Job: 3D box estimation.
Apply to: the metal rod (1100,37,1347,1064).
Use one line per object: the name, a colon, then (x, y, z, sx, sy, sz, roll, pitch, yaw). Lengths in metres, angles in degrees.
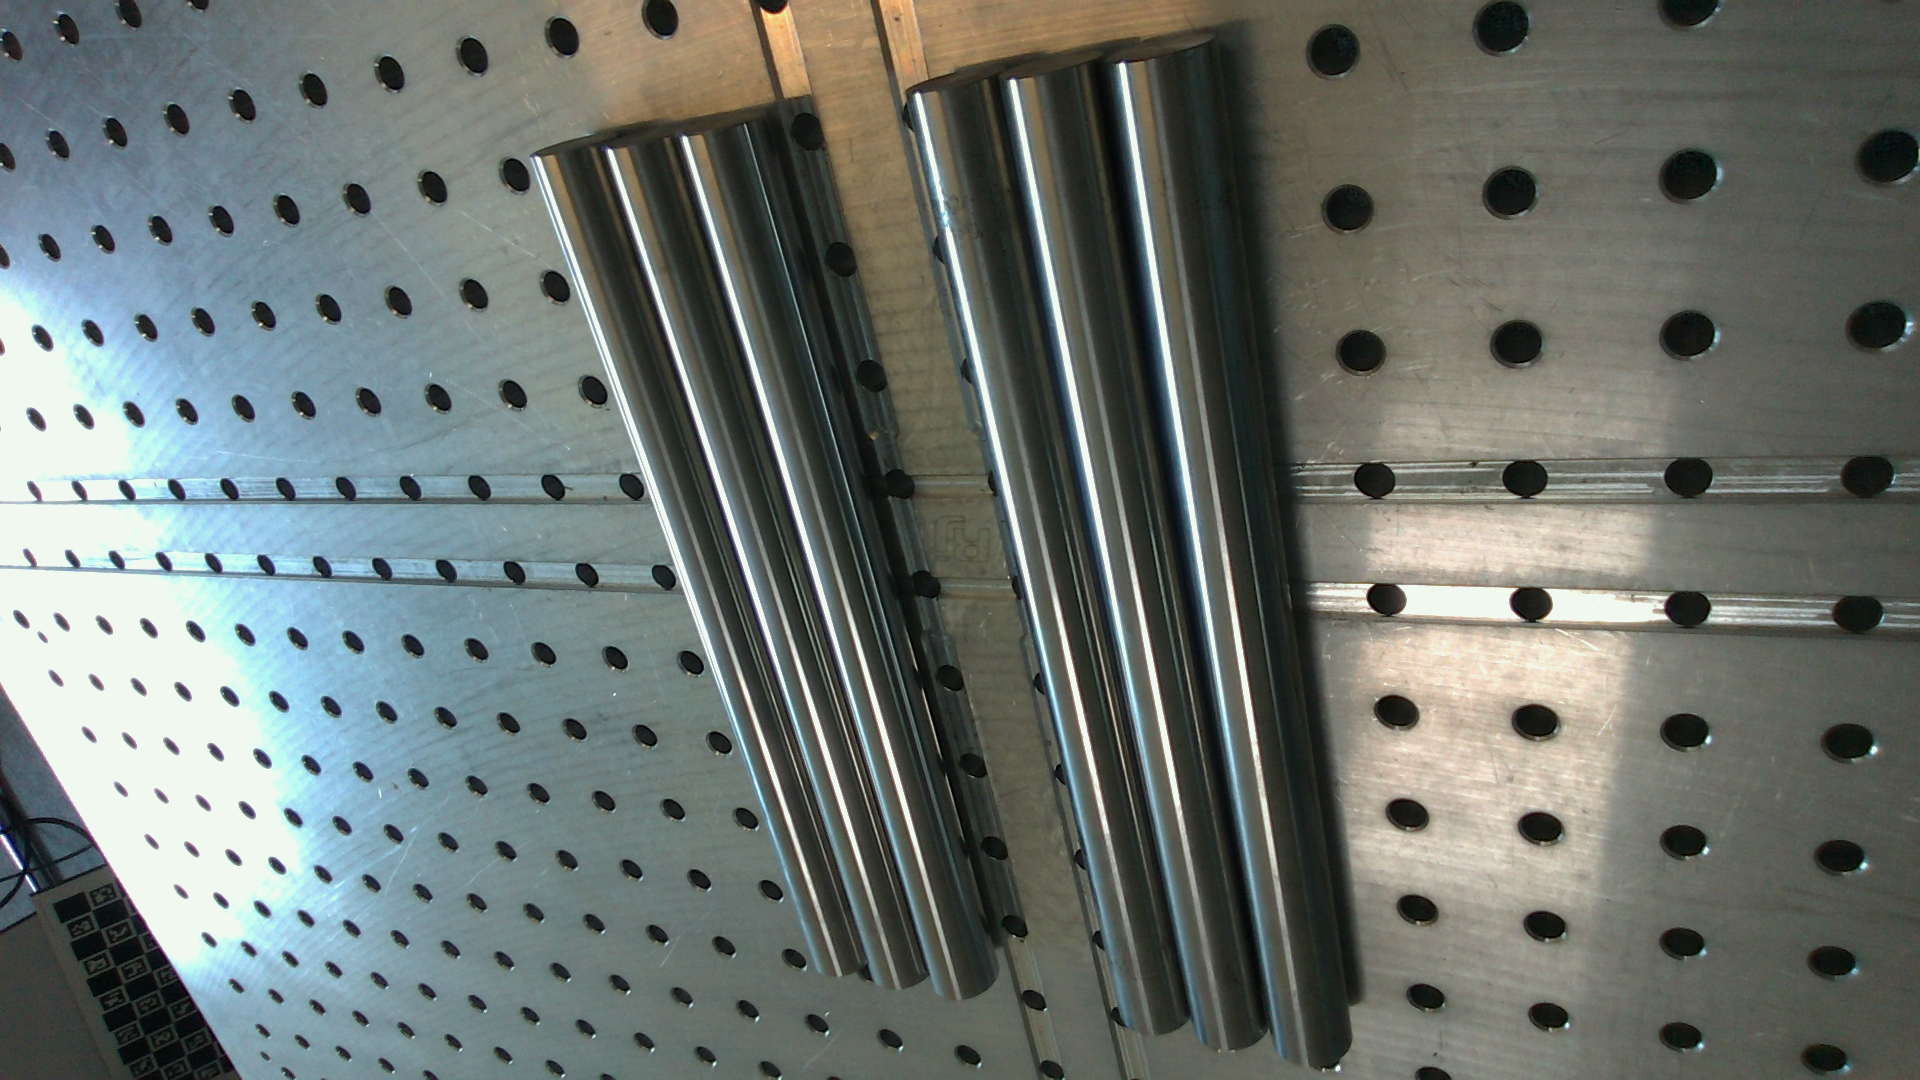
metal rod: (0.076, 0.023, 0.369, 0.025, 0.025, 0.300, 1, 119, 28)

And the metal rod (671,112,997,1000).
metal rod: (-0.031, 0.023, 0.426, 0.025, 0.025, 0.300, 1, 119, 28)

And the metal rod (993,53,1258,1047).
metal rod: (0.053, 0.023, 0.381, 0.025, 0.025, 0.300, 1, 119, 28)

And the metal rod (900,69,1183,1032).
metal rod: (0.031, 0.022, 0.392, 0.025, 0.025, 0.300, 1, 119, 28)

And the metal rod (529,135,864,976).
metal rod: (-0.076, 0.022, 0.449, 0.025, 0.025, 0.300, 1, 119, 28)

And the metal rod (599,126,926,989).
metal rod: (-0.053, 0.023, 0.438, 0.025, 0.025, 0.300, 1, 119, 28)
